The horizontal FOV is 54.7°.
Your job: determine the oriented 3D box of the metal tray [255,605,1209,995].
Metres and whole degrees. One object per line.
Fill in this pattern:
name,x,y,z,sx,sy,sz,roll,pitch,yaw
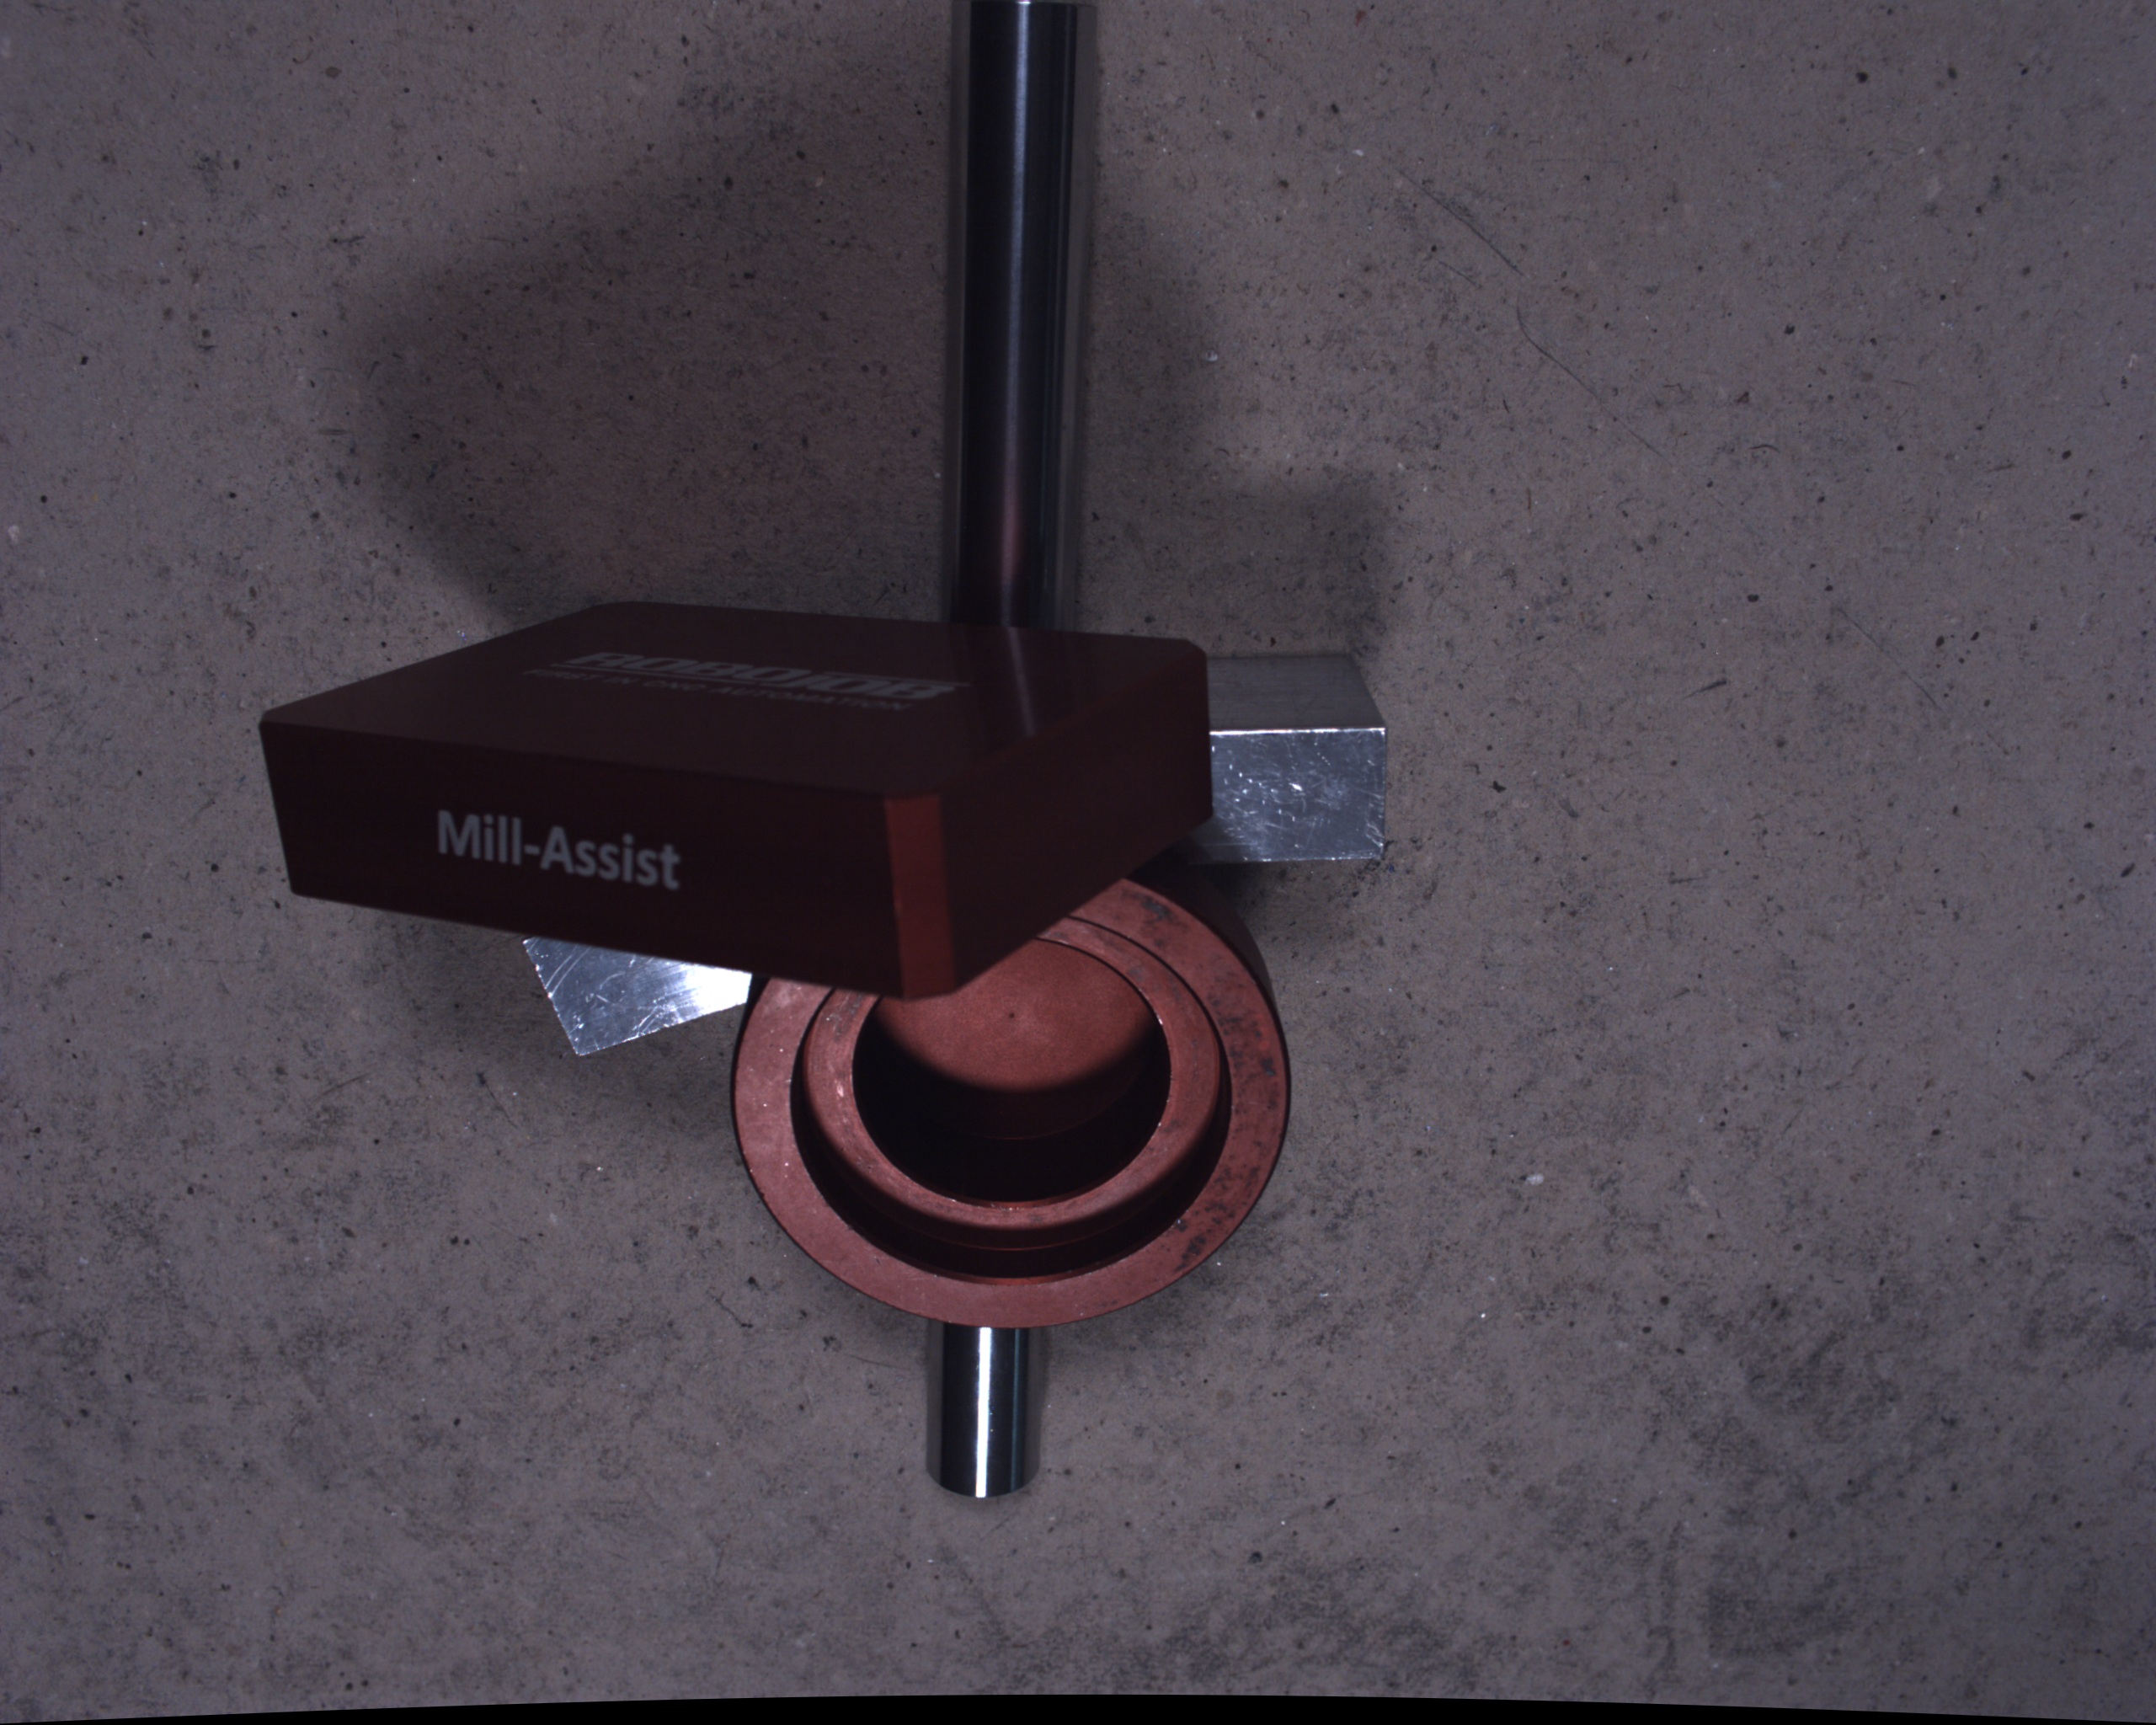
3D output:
metal tray,-0.055,-0.016,0.345,0.130,0.091,0.030,7,112,28

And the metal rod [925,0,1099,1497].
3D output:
metal rod,-0.015,-0.008,0.408,0.025,0.025,0.298,2,110,-1

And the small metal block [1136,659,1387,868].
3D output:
small metal block,0.029,-0.020,0.391,0.050,0.050,0.025,-1,110,0

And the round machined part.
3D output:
round machined part,-0.012,0.034,0.385,0.099,0.042,0.097,-1,114,-2

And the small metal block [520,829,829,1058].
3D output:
small metal block,-0.073,0.008,0.400,0.050,0.050,0.025,-18,109,6
